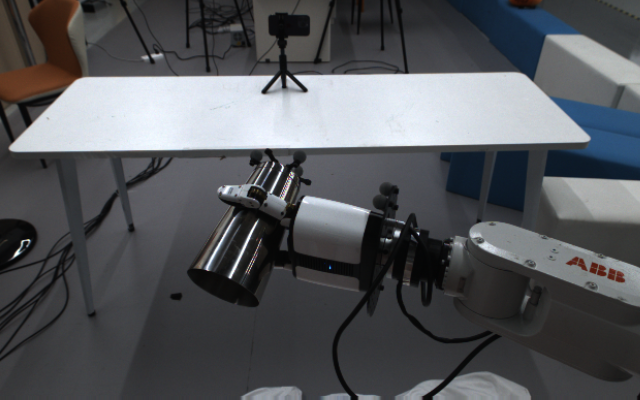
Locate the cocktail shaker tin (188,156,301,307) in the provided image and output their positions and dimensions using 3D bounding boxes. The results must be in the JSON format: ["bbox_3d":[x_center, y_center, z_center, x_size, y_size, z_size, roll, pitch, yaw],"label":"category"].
[{"bbox_3d":[-0.085,0.036,0.605,0.093,0.093,0.170,13,58,16],"label":"cocktail shaker tin"}]
